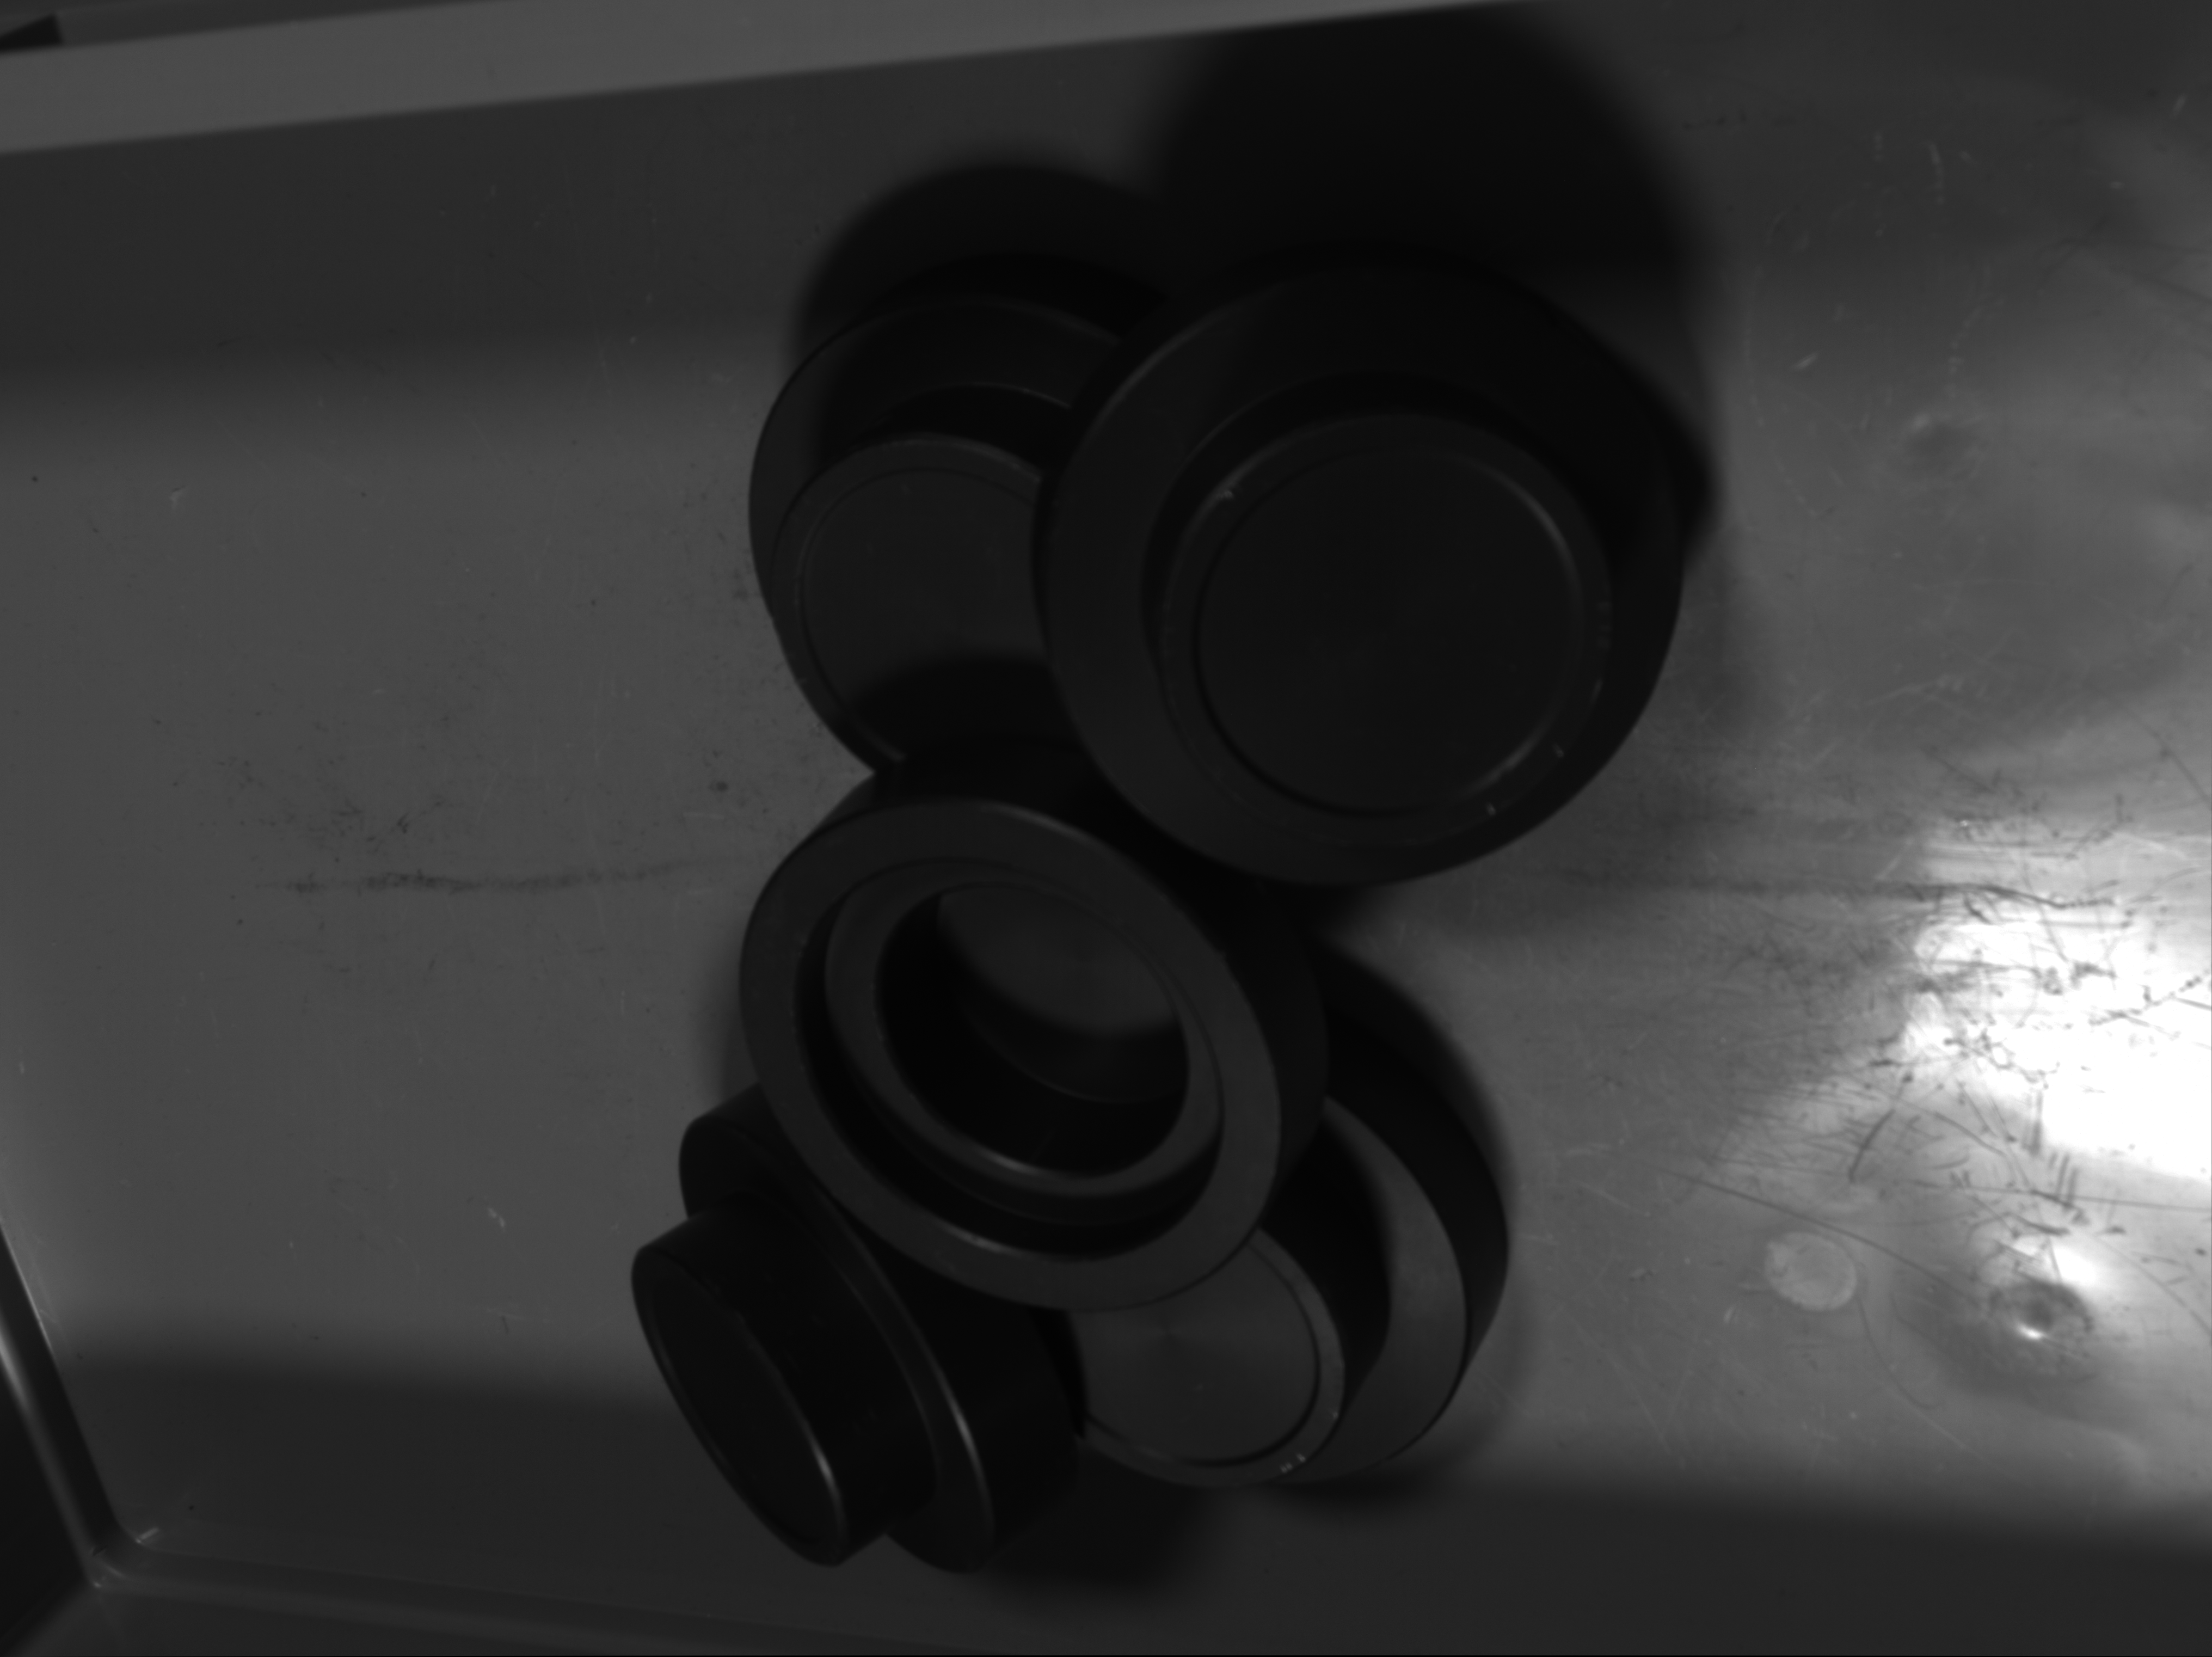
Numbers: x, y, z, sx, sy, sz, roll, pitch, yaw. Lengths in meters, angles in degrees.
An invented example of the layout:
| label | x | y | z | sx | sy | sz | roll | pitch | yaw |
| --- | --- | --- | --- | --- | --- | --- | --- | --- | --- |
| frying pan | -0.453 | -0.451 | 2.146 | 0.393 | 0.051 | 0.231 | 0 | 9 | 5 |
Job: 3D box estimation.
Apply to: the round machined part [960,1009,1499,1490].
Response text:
| label | x | y | z | sx | sy | sz | roll | pitch | yaw |
| --- | --- | --- | --- | --- | --- | --- | --- | --- | --- |
| round machined part | 0.017 | 0.079 | 0.657 | 0.098 | 0.042 | 0.098 | 12 | 123 | 20 |

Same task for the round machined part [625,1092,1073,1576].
| label | x | y | z | sx | sy | sz | roll | pitch | yaw |
| --- | --- | --- | --- | --- | --- | --- | --- | --- | --- |
| round machined part | -0.053 | 0.097 | 0.676 | 0.098 | 0.042 | 0.098 | 42 | 149 | 32 |

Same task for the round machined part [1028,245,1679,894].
| label | x | y | z | sx | sy | sz | roll | pitch | yaw |
| --- | --- | --- | --- | --- | --- | --- | --- | --- | --- |
| round machined part | 0.038 | -0.035 | 0.551 | 0.098 | 0.042 | 0.098 | -2 | 112 | -5 |

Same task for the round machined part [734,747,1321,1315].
| label | x | y | z | sx | sy | sz | roll | pitch | yaw |
| --- | --- | --- | --- | --- | --- | --- | --- | --- | --- |
| round machined part | -0.009 | 0.029 | 0.613 | 0.098 | 0.042 | 0.098 | 12 | 123 | 20 |

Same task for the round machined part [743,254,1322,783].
| label | x | y | z | sx | sy | sz | roll | pitch | yaw |
| --- | --- | --- | --- | --- | --- | --- | --- | --- | --- |
| round machined part | -0.017 | -0.041 | 0.602 | 0.098 | 0.042 | 0.098 | 12 | 123 | 20 |
